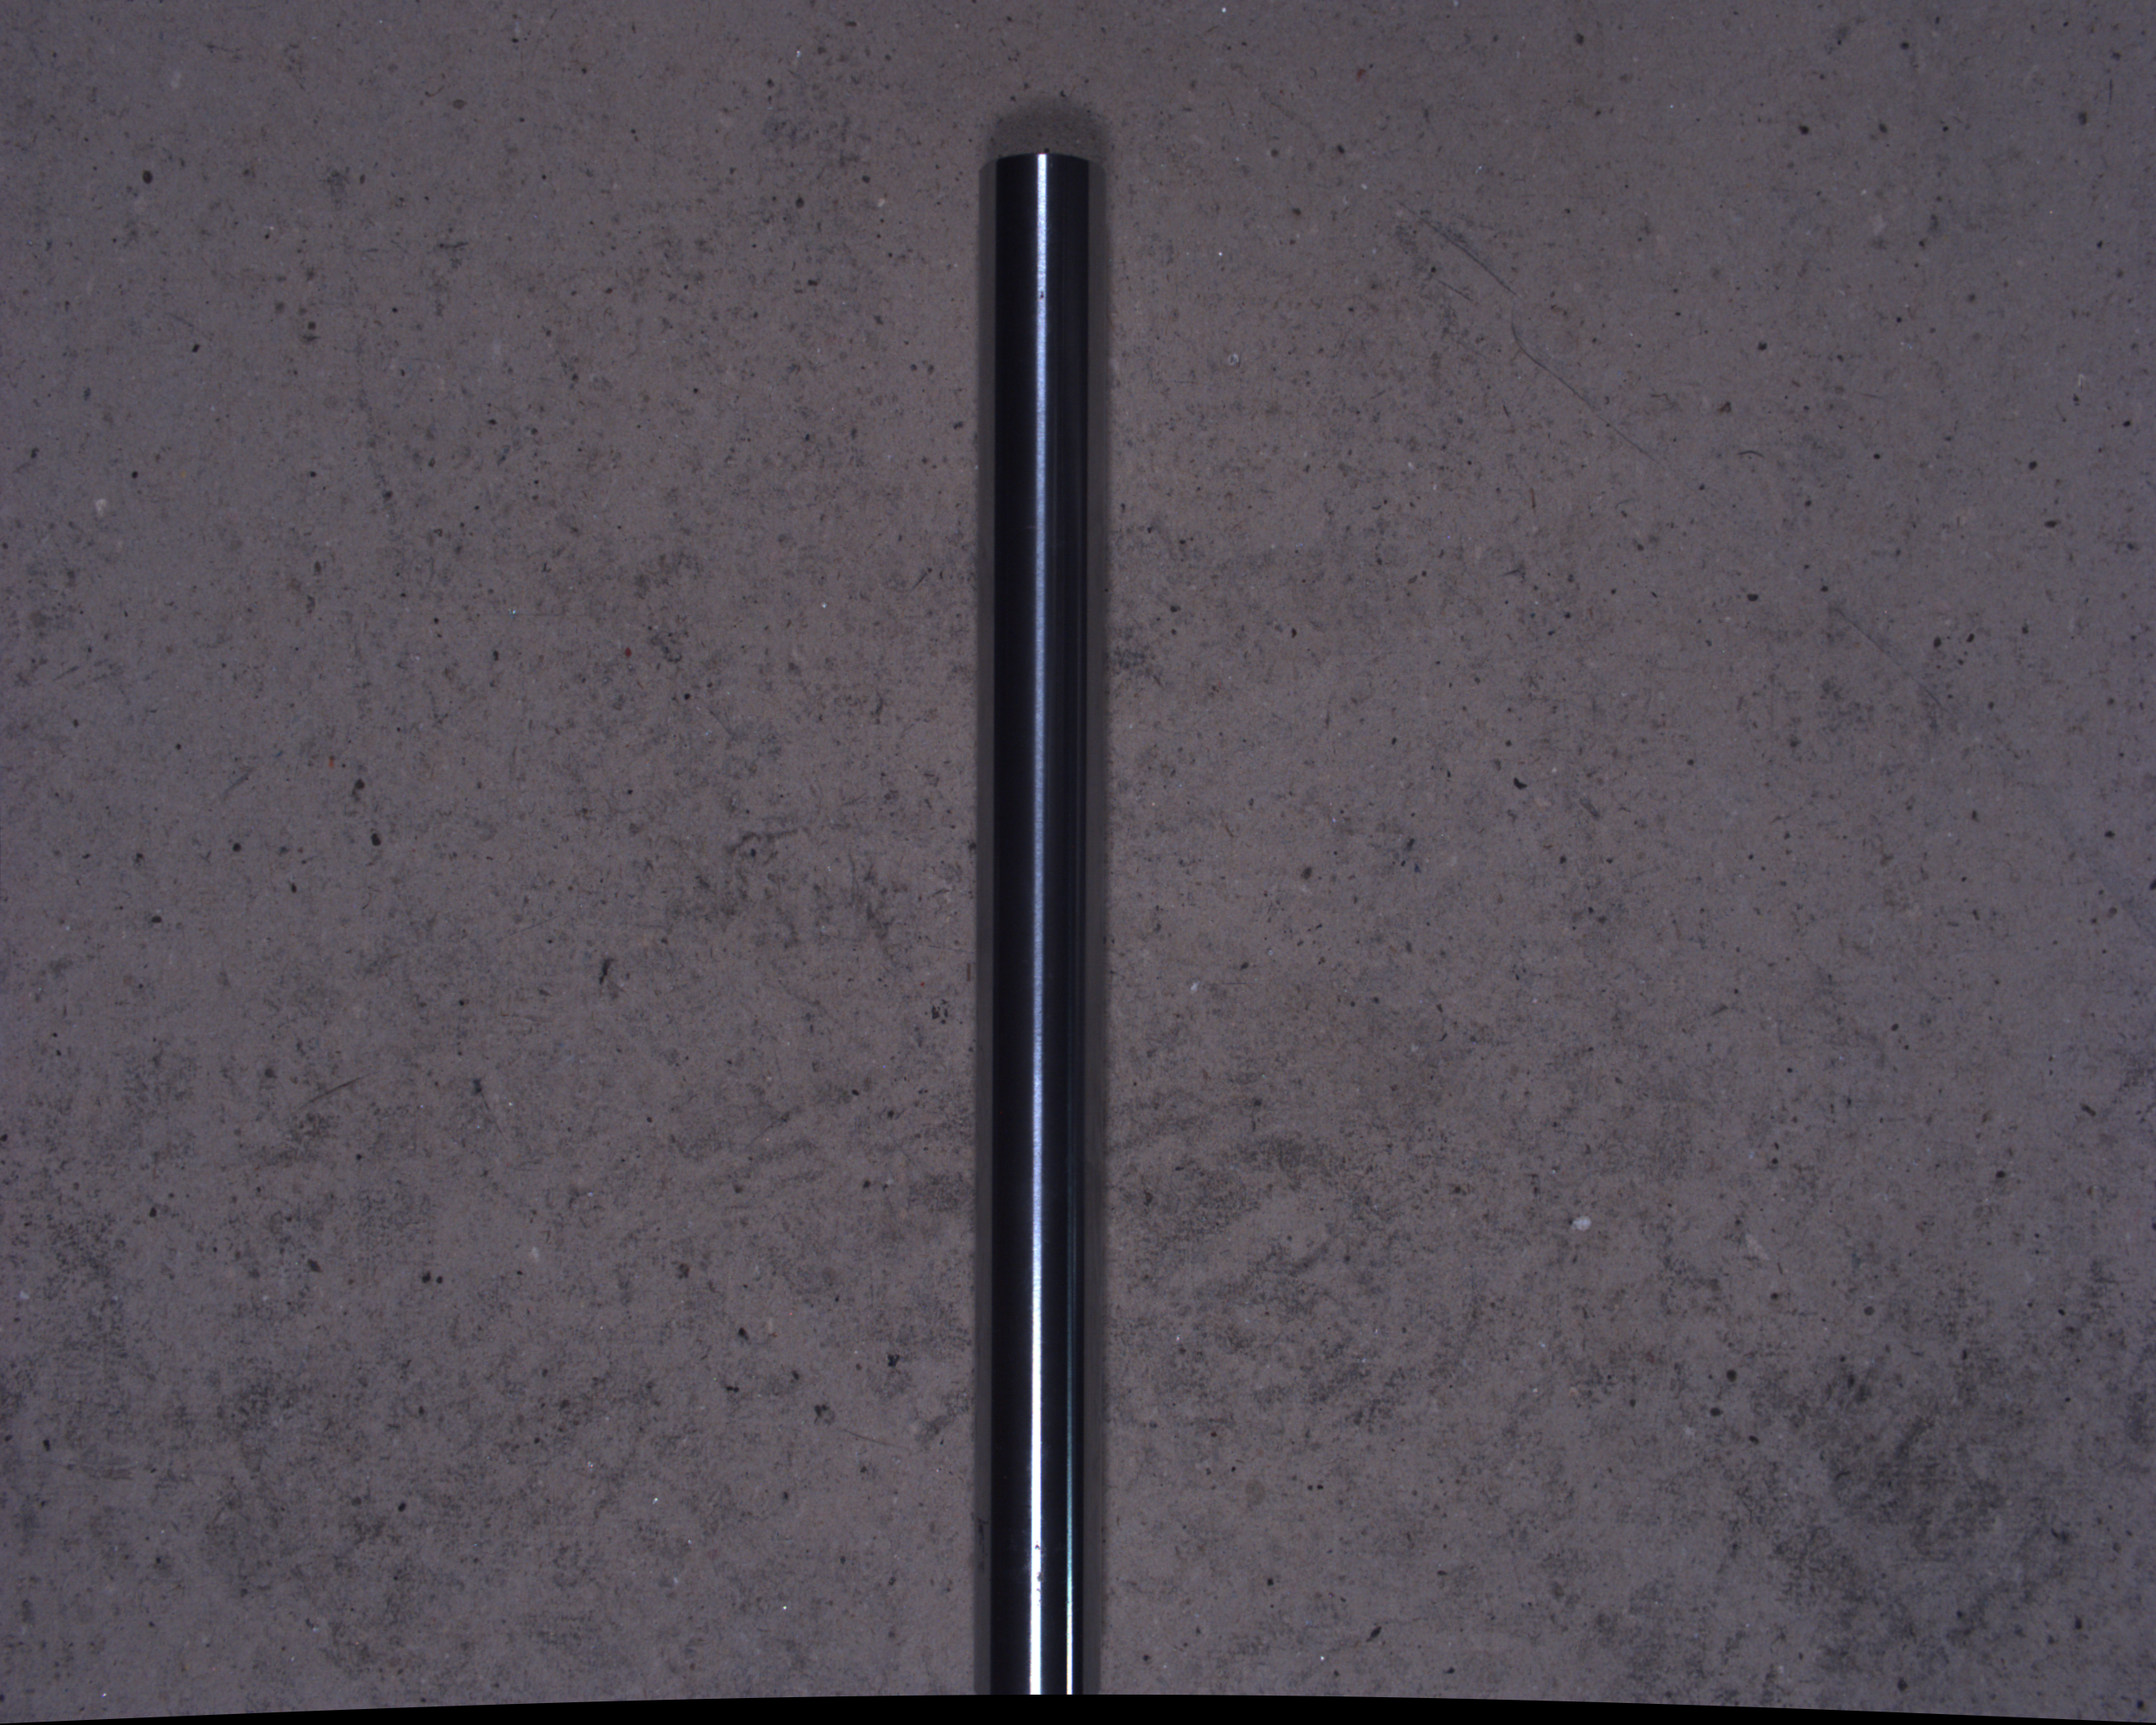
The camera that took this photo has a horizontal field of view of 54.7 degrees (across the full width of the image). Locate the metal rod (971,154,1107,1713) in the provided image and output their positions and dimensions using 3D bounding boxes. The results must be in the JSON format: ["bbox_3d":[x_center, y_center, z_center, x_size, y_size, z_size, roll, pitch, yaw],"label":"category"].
[{"bbox_3d":[-0.008,0.014,0.411,0.025,0.025,0.298,0,90,-1],"label":"metal rod"}]
